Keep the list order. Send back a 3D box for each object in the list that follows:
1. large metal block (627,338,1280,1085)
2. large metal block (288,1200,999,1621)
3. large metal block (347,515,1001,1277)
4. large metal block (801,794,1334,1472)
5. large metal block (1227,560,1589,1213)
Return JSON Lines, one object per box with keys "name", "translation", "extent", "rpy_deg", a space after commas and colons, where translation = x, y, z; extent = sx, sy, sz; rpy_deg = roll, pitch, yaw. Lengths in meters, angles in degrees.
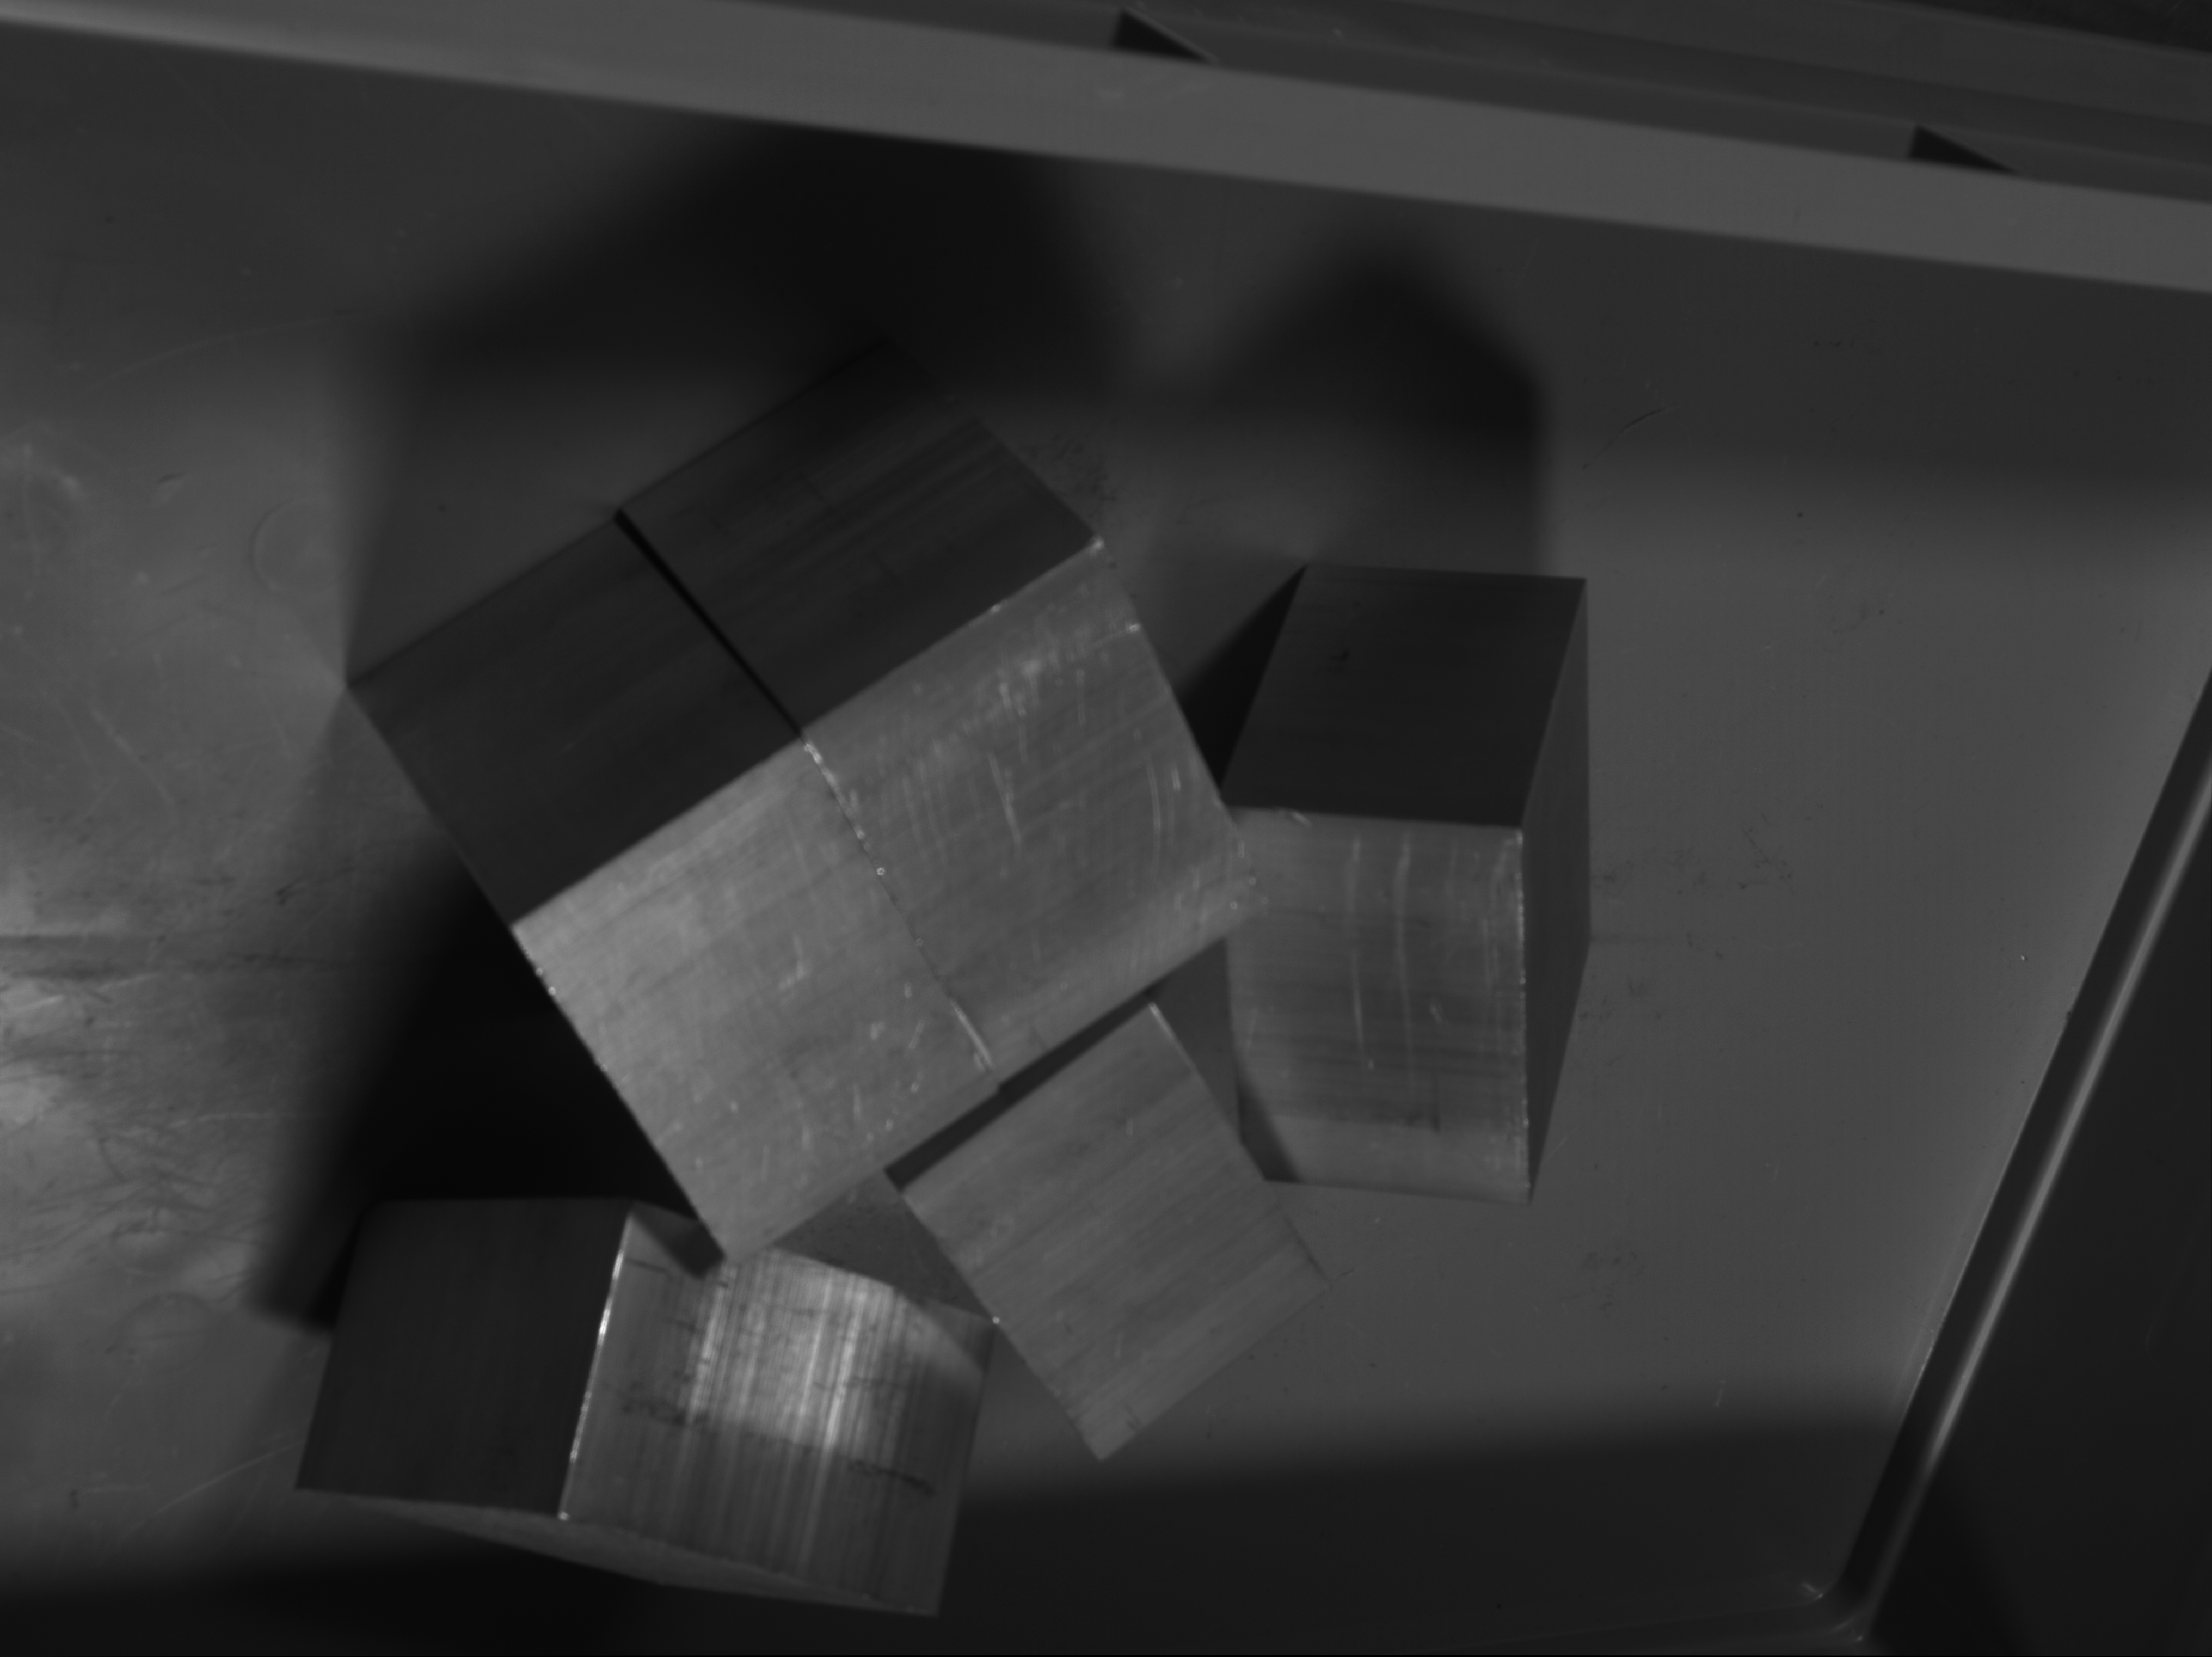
{"name": "large metal block", "translation": [-0.025, -0.020, 0.587], "extent": [0.050, 0.080, 0.080], "rpy_deg": [-34, 130, -8]}
{"name": "large metal block", "translation": [-0.078, 0.098, 0.620], "extent": [0.080, 0.080, 0.050], "rpy_deg": [25, 69, -38]}
{"name": "large metal block", "translation": [-0.069, 0.010, 0.580], "extent": [0.050, 0.080, 0.080], "rpy_deg": [-33, 130, -9]}
{"name": "large metal block", "translation": [-0.014, 0.050, 0.636], "extent": [0.050, 0.080, 0.080], "rpy_deg": [-36, 130, -6]}
{"name": "large metal block", "translation": [0.055, 0.009, 0.643], "extent": [0.050, 0.080, 0.080], "rpy_deg": [4, 125, 14]}
